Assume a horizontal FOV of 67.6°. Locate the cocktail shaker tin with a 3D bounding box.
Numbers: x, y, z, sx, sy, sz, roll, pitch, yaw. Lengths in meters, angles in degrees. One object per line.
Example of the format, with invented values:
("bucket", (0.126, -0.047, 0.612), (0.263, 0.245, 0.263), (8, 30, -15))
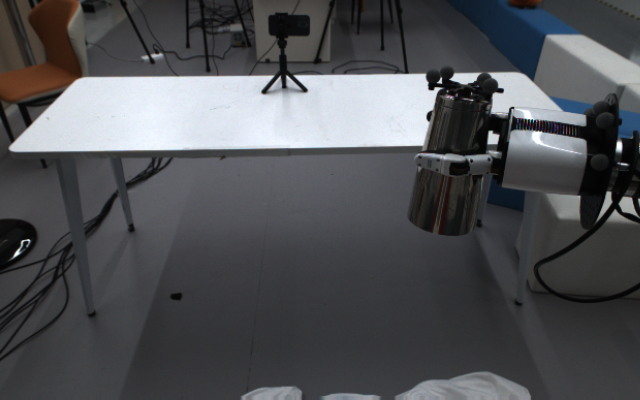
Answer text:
("cocktail shaker tin", (0.171, -0.052, 0.621), (0.093, 0.170, 0.093), (3, 26, -1))
